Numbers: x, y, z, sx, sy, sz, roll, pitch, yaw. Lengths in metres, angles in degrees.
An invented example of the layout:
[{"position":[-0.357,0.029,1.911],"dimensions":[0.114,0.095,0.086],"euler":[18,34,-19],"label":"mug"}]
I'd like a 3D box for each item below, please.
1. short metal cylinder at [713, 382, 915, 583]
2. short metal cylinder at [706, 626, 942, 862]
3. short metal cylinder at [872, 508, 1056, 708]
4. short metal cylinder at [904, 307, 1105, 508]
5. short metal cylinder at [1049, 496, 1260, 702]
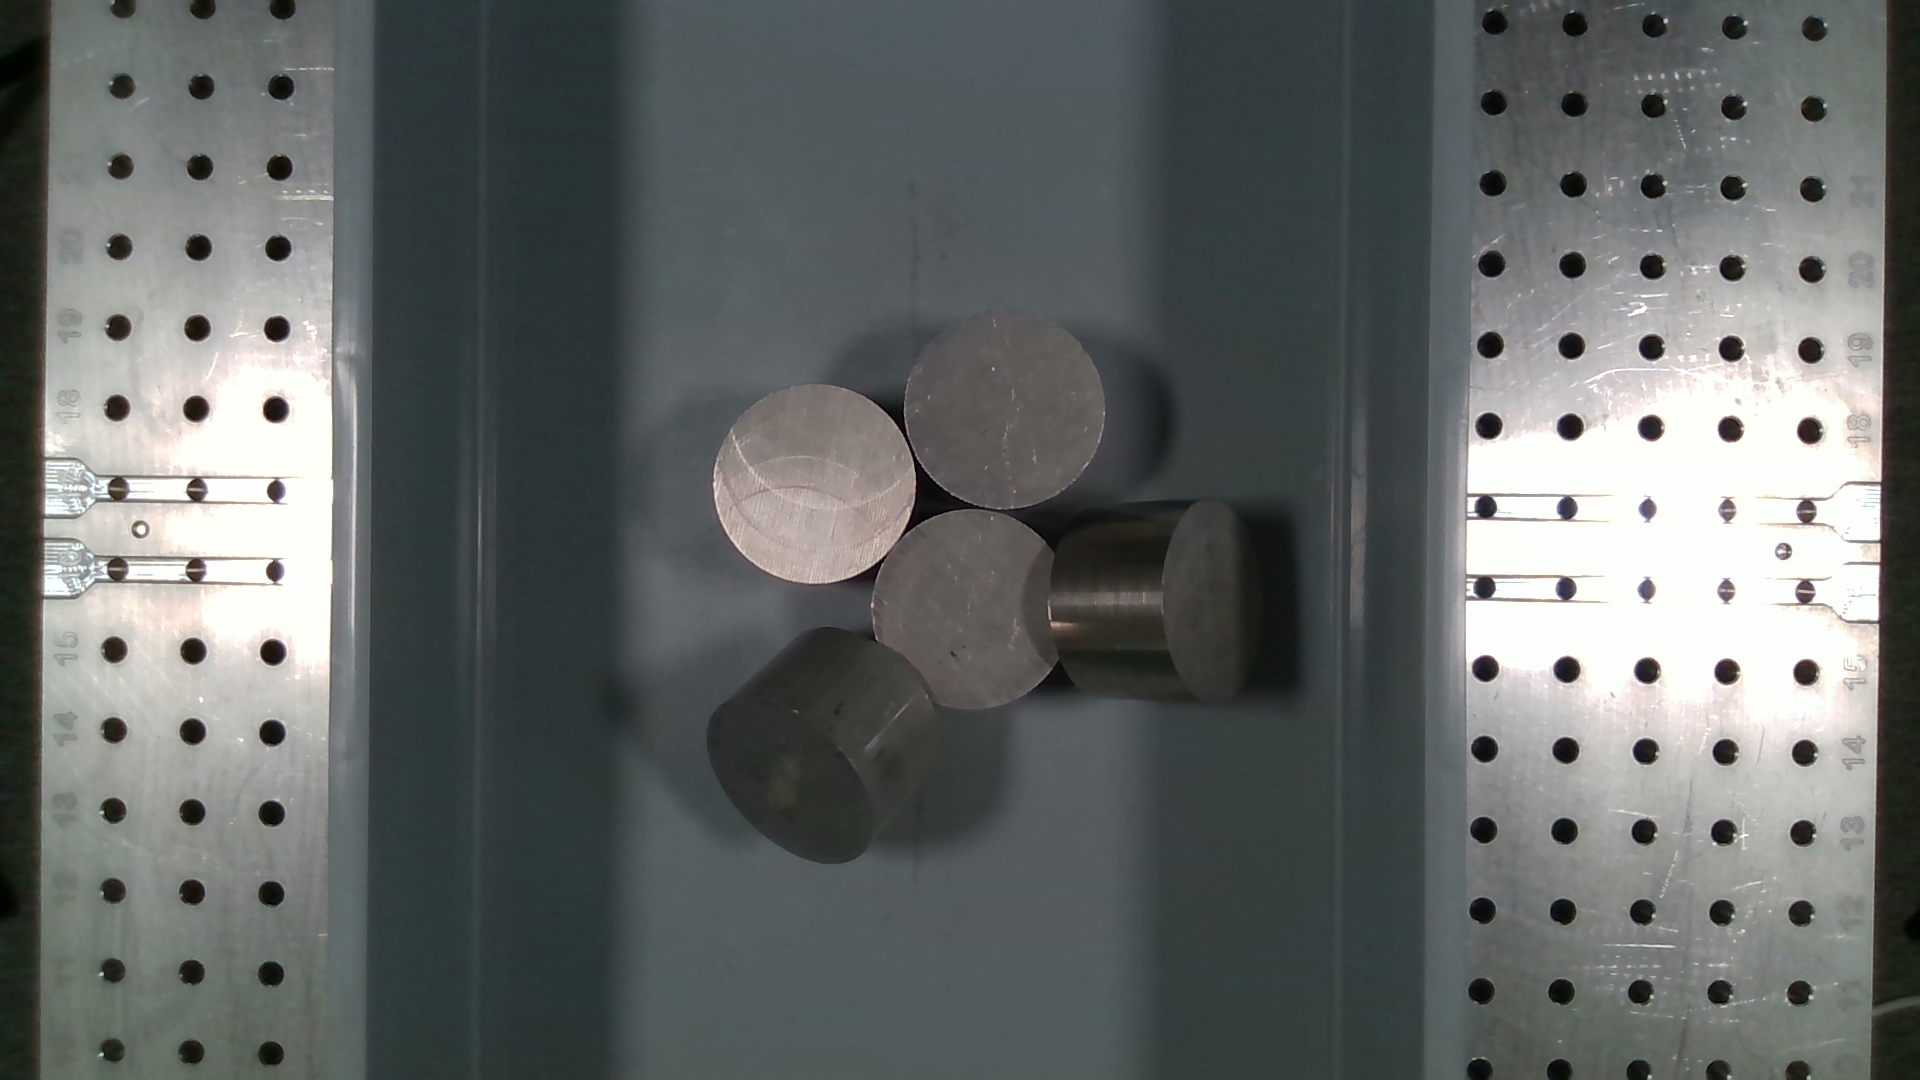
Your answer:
[{"position":[-0.058,-0.023,0.573],"dimensions":[0.080,0.050,0.080],"euler":[0,90,0],"label":"short metal cylinder"},{"position":[-0.054,0.082,0.553],"dimensions":[0.080,0.050,0.080],"euler":[18,128,25],"label":"short metal cylinder"},{"position":[0.005,0.027,0.573],"dimensions":[0.080,0.050,0.080],"euler":[0,90,0],"label":"short metal cylinder"},{"position":[0.018,-0.053,0.572],"dimensions":[0.080,0.050,0.080],"euler":[0,90,0],"label":"short metal cylinder"},{"position":[0.079,0.024,0.551],"dimensions":[0.050,0.080,0.080],"euler":[-3,90,38],"label":"short metal cylinder"}]
